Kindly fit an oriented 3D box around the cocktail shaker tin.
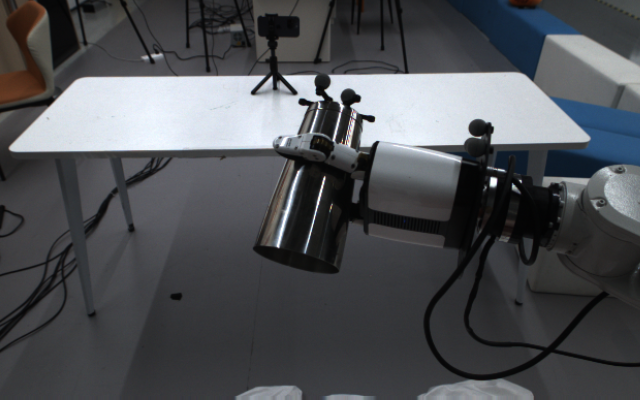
[{"bbox_3d":[-0.002,-0.015,0.518,0.093,0.093,0.170,11,71,12],"label":"cocktail shaker tin"}]
